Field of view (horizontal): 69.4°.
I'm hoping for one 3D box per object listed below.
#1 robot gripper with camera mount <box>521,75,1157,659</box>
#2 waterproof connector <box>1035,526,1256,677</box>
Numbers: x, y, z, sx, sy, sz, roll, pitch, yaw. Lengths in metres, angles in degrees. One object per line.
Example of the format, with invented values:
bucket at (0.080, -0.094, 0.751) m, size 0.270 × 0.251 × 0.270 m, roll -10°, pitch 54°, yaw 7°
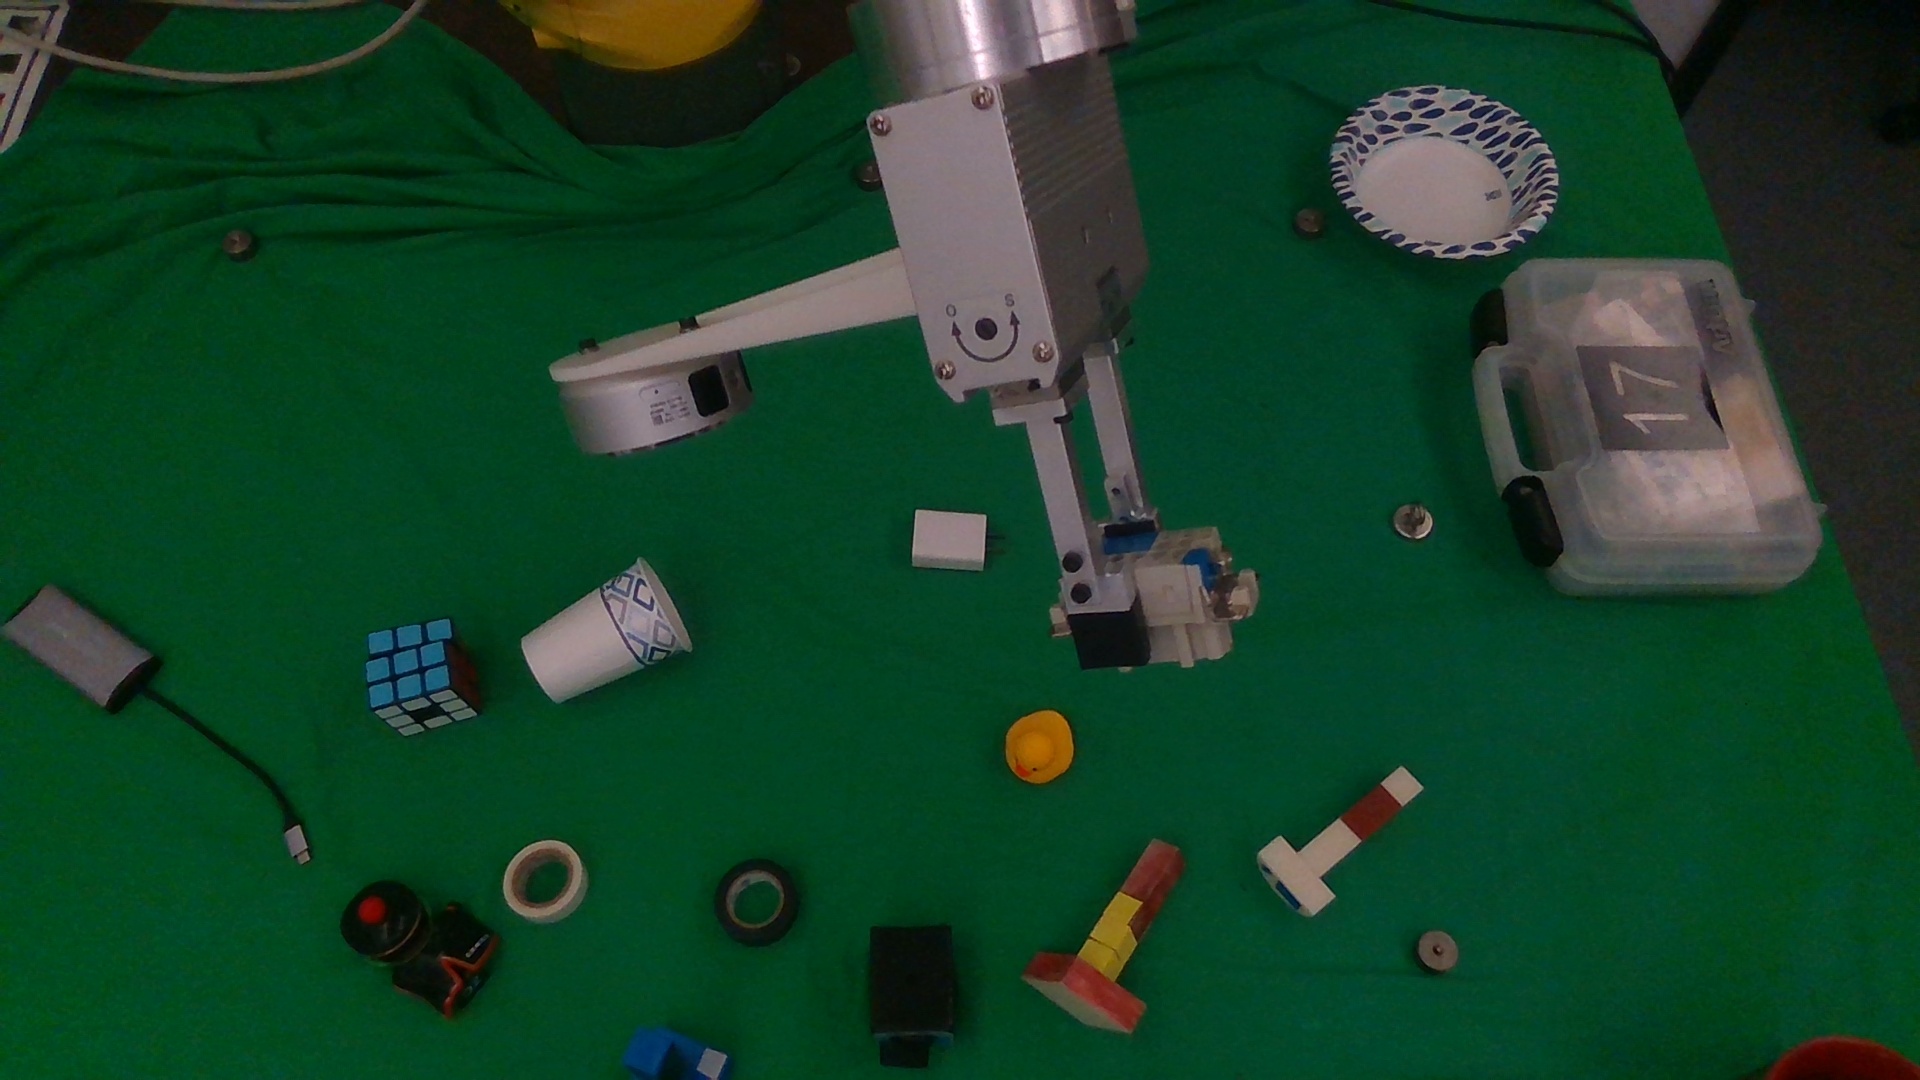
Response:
robot gripper with camera mount at (-0.042, -0.030, 0.429) m, size 0.194 × 0.158 × 0.119 m, roll -10°, pitch 21°, yaw 19°
waterproof connector at (0.057, 0.019, 0.425) m, size 0.065 × 0.037 × 0.035 m, roll -7°, pitch 16°, yaw 23°
